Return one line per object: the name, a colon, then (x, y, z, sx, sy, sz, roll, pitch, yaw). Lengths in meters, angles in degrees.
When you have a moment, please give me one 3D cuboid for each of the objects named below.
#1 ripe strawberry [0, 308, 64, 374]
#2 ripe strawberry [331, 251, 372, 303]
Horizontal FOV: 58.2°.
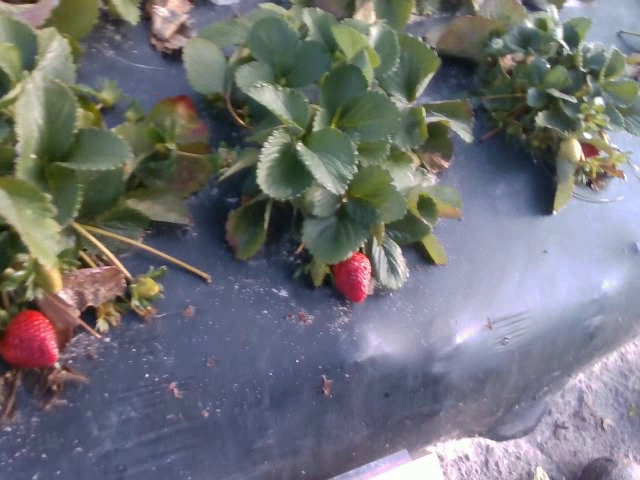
ripe strawberry: (-0.139, 0.052, 0.275, 0.030, 0.032, 0.026, 33, -20, 11)
ripe strawberry: (0.022, 0.025, 0.340, 0.029, 0.036, 0.021, -12, -14, -15)
